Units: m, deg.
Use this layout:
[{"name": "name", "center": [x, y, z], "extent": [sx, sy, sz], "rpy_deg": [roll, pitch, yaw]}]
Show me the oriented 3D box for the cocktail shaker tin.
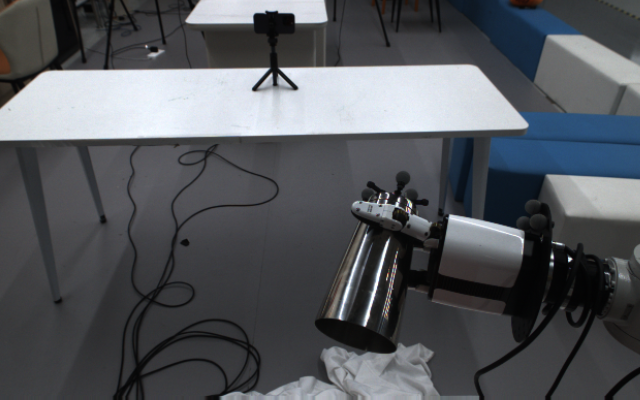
[{"name": "cocktail shaker tin", "center": [0.064, 0.075, 0.562], "extent": [0.093, 0.093, 0.170], "rpy_deg": [13, 59, 16]}]
